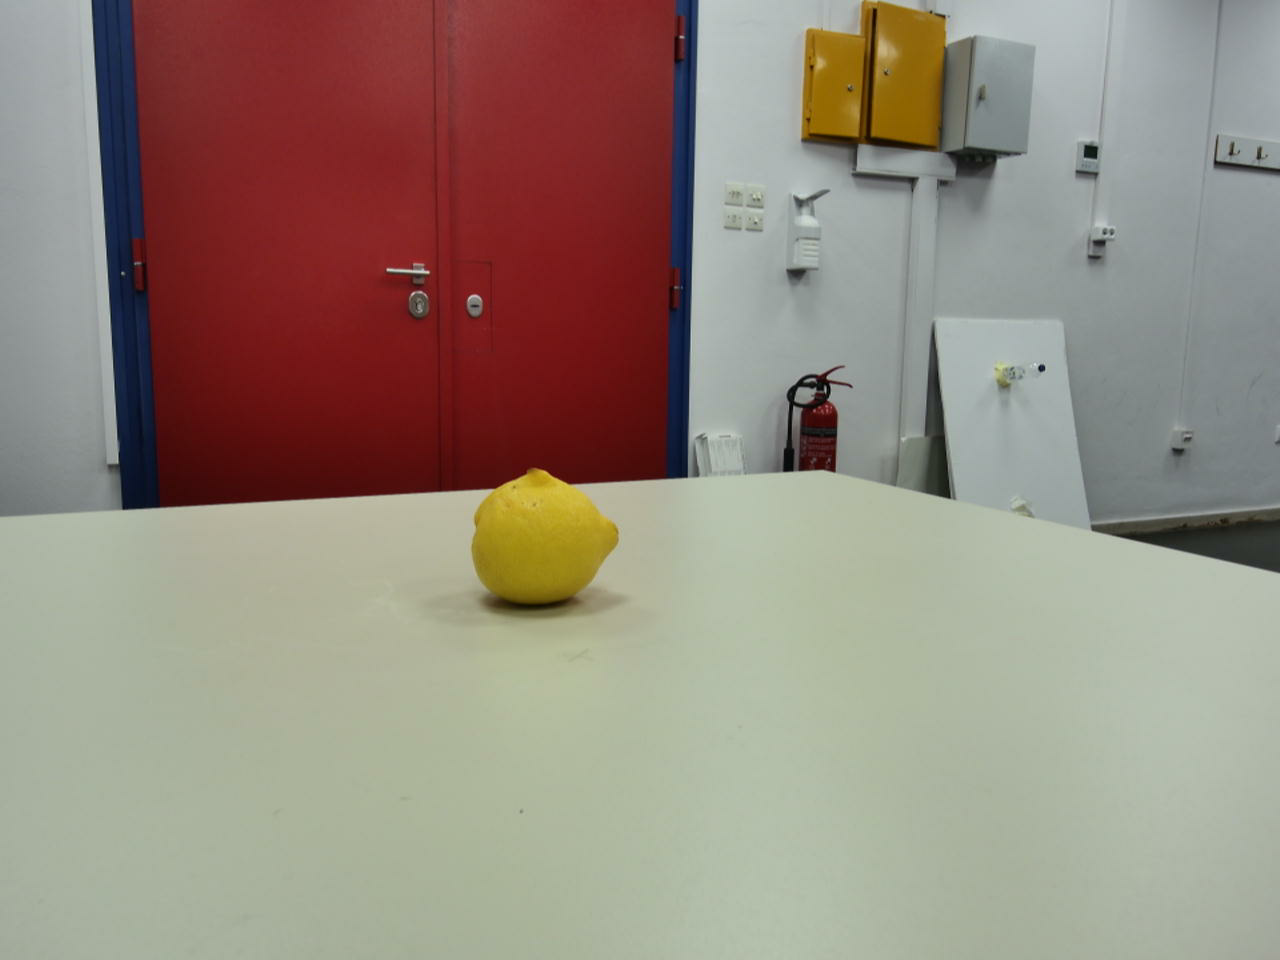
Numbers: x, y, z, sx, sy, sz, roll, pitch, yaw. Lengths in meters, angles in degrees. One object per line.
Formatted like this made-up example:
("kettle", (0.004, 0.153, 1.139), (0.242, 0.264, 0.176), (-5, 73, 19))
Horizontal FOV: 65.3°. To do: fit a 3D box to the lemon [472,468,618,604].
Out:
("lemon", (-0.054, 0.029, 0.527), (0.071, 0.071, 0.070), (4, 8, 31))
